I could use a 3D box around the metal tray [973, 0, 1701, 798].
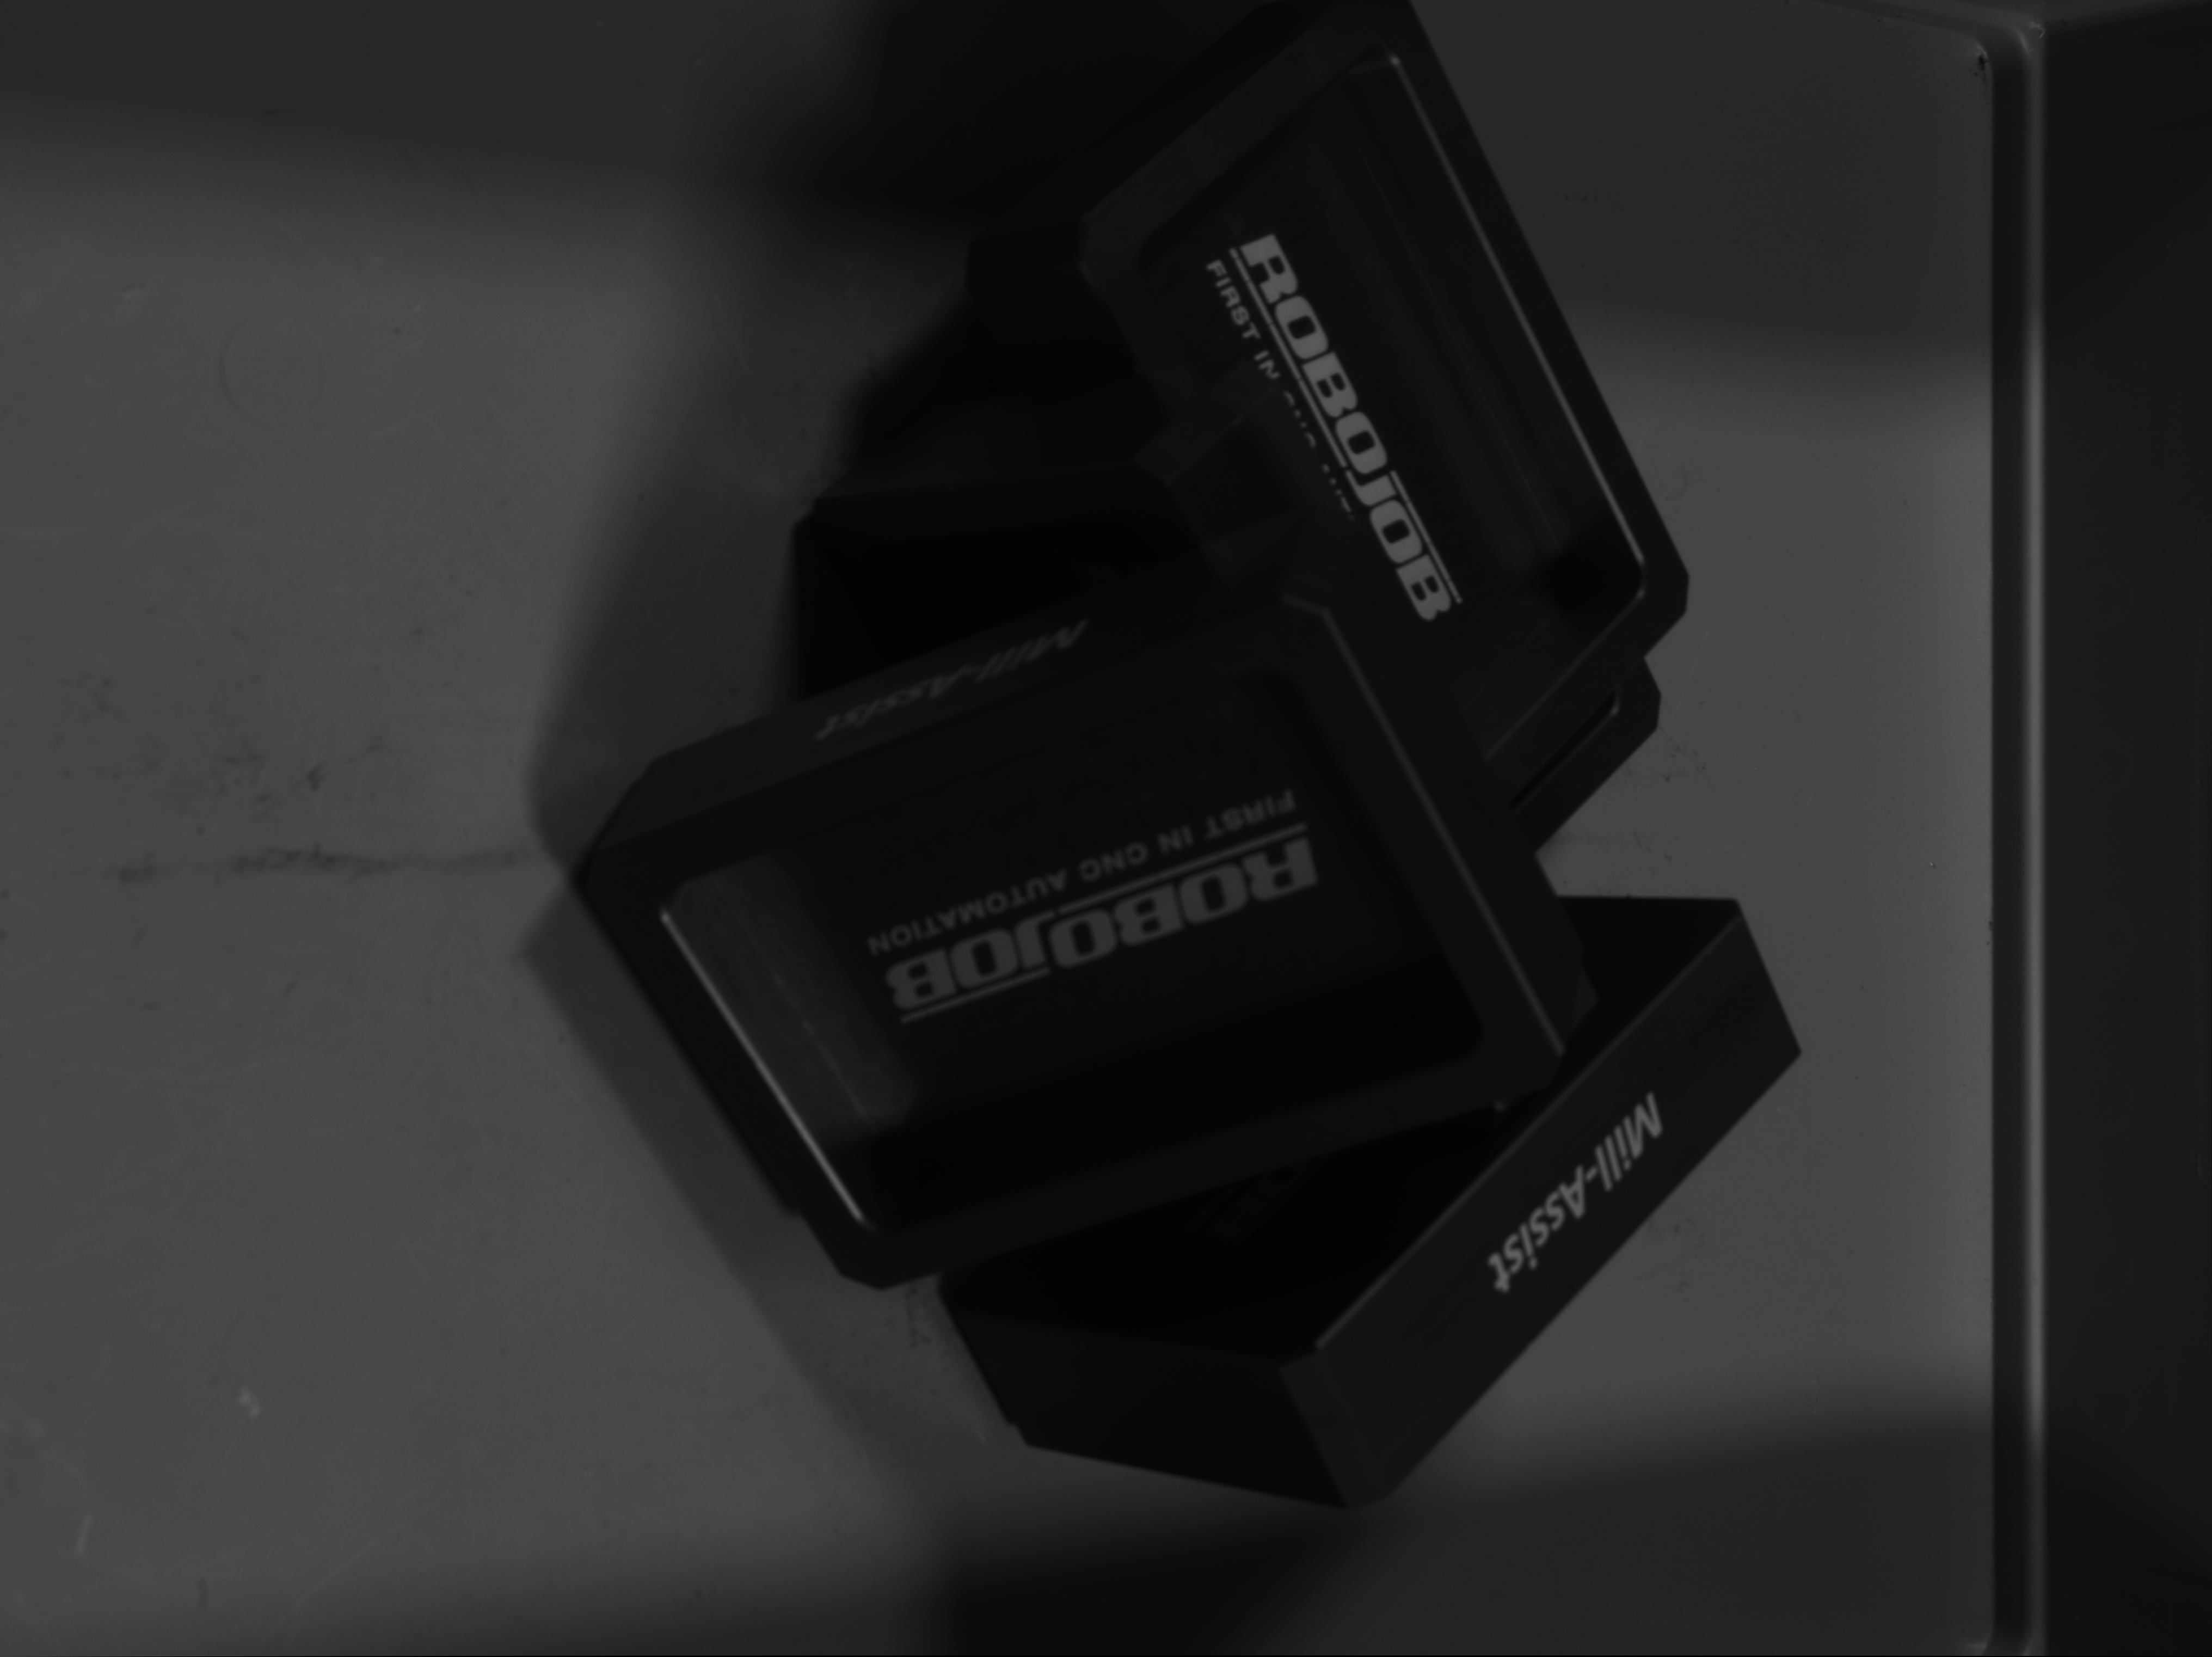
[{"bbox_3d":[0.043,-0.067,0.629,0.090,0.030,0.130,-43,116,-31],"label":"metal tray"}]

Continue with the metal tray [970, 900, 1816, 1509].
[{"bbox_3d":[0.050,0.060,0.635,0.130,0.090,0.030,-40,114,-33],"label":"metal tray"}]

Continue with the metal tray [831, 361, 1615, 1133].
[{"bbox_3d":[0.019,-0.011,0.608,0.030,0.090,0.130,-44,116,-31],"label":"metal tray"}]

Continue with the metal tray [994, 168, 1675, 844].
[{"bbox_3d":[0.045,-0.051,0.671,0.090,0.030,0.130,-40,113,-31],"label":"metal tray"}]

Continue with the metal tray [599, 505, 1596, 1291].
[{"bbox_3d":[-0.001,0.014,0.568,0.090,0.130,0.030,60,26,-22],"label":"metal tray"}]
